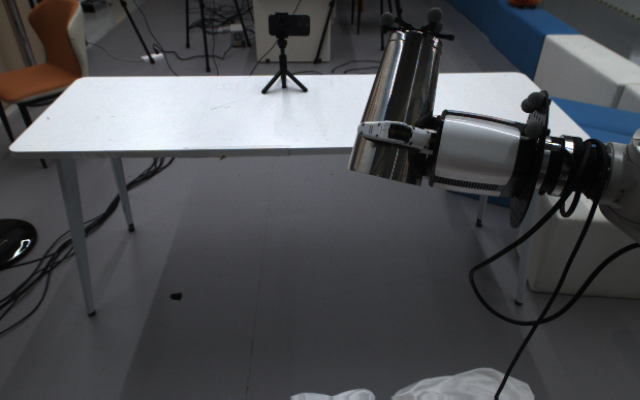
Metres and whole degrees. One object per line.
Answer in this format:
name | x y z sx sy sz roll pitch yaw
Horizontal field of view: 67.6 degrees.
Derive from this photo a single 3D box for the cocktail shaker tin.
cocktail shaker tin | 0.097 -0.110 0.589 0.093 0.170 0.093 13 4 -1
